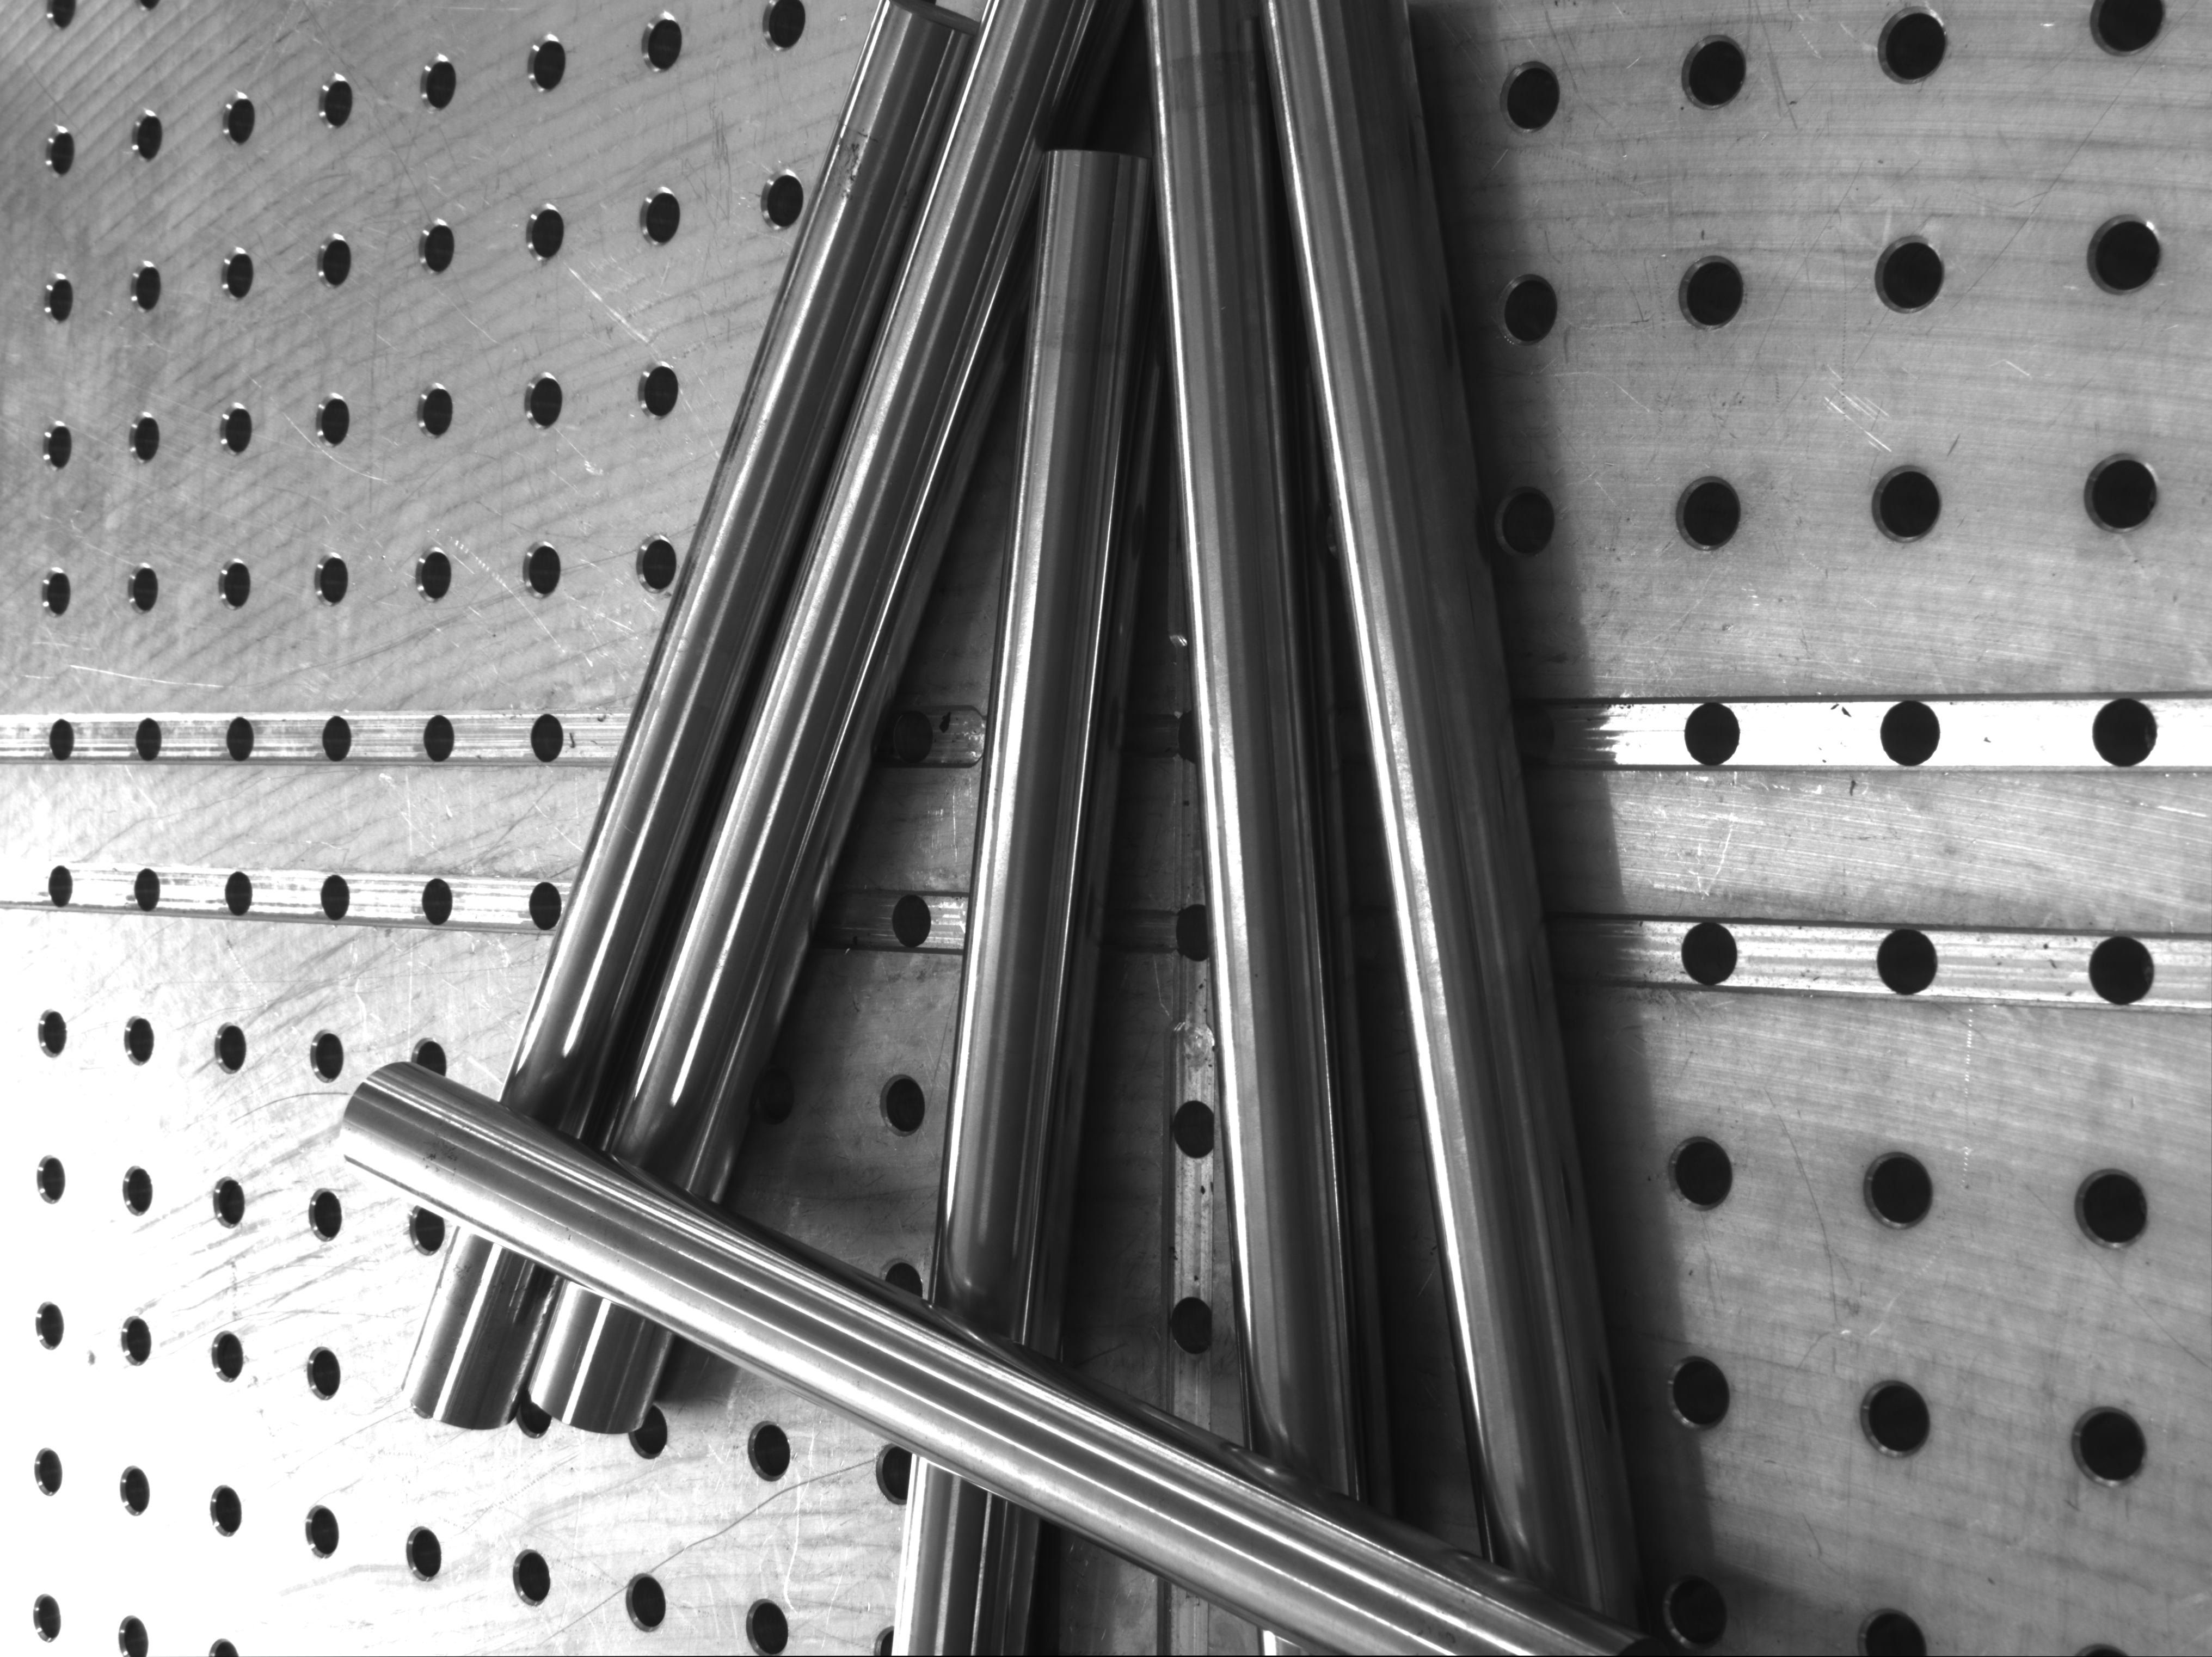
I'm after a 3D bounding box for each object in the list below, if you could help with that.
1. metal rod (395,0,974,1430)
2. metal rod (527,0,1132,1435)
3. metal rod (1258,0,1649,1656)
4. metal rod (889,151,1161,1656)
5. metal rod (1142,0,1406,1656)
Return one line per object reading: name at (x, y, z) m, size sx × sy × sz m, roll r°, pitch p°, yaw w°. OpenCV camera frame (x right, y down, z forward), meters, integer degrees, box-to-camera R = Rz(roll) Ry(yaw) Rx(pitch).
metal rod at (-0.083, -0.016, 0.718) m, size 0.025 × 0.025 × 0.300 m, roll 34°, pitch 111°, yaw 35°
metal rod at (-0.055, -0.020, 0.696) m, size 0.025 × 0.025 × 0.300 m, roll 32°, pitch 110°, yaw 36°
metal rod at (0.058, 0.007, 0.600) m, size 0.025 × 0.025 × 0.300 m, roll -13°, pitch 82°, yaw 39°
metal rod at (-0.014, 0.031, 0.661) m, size 0.025 × 0.025 × 0.300 m, roll 10°, pitch 97°, yaw 40°
metal rod at (0.028, -0.006, 0.625) m, size 0.025 × 0.025 × 0.300 m, roll -7°, pitch 86°, yaw 40°
